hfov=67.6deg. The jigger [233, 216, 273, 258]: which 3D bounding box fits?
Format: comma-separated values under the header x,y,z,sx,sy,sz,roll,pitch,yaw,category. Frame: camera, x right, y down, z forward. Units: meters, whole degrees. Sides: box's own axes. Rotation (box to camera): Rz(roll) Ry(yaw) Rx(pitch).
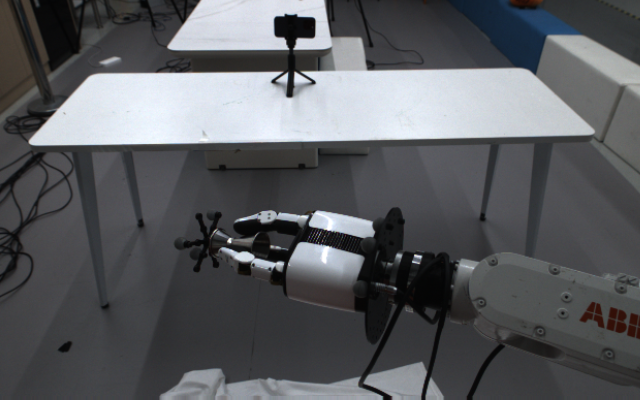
x,y,z,sx,sy,sz,roll,pitch,yaw,category
-0.097,0.053,0.632,0.071,0.043,0.043,3,33,25,jigger
